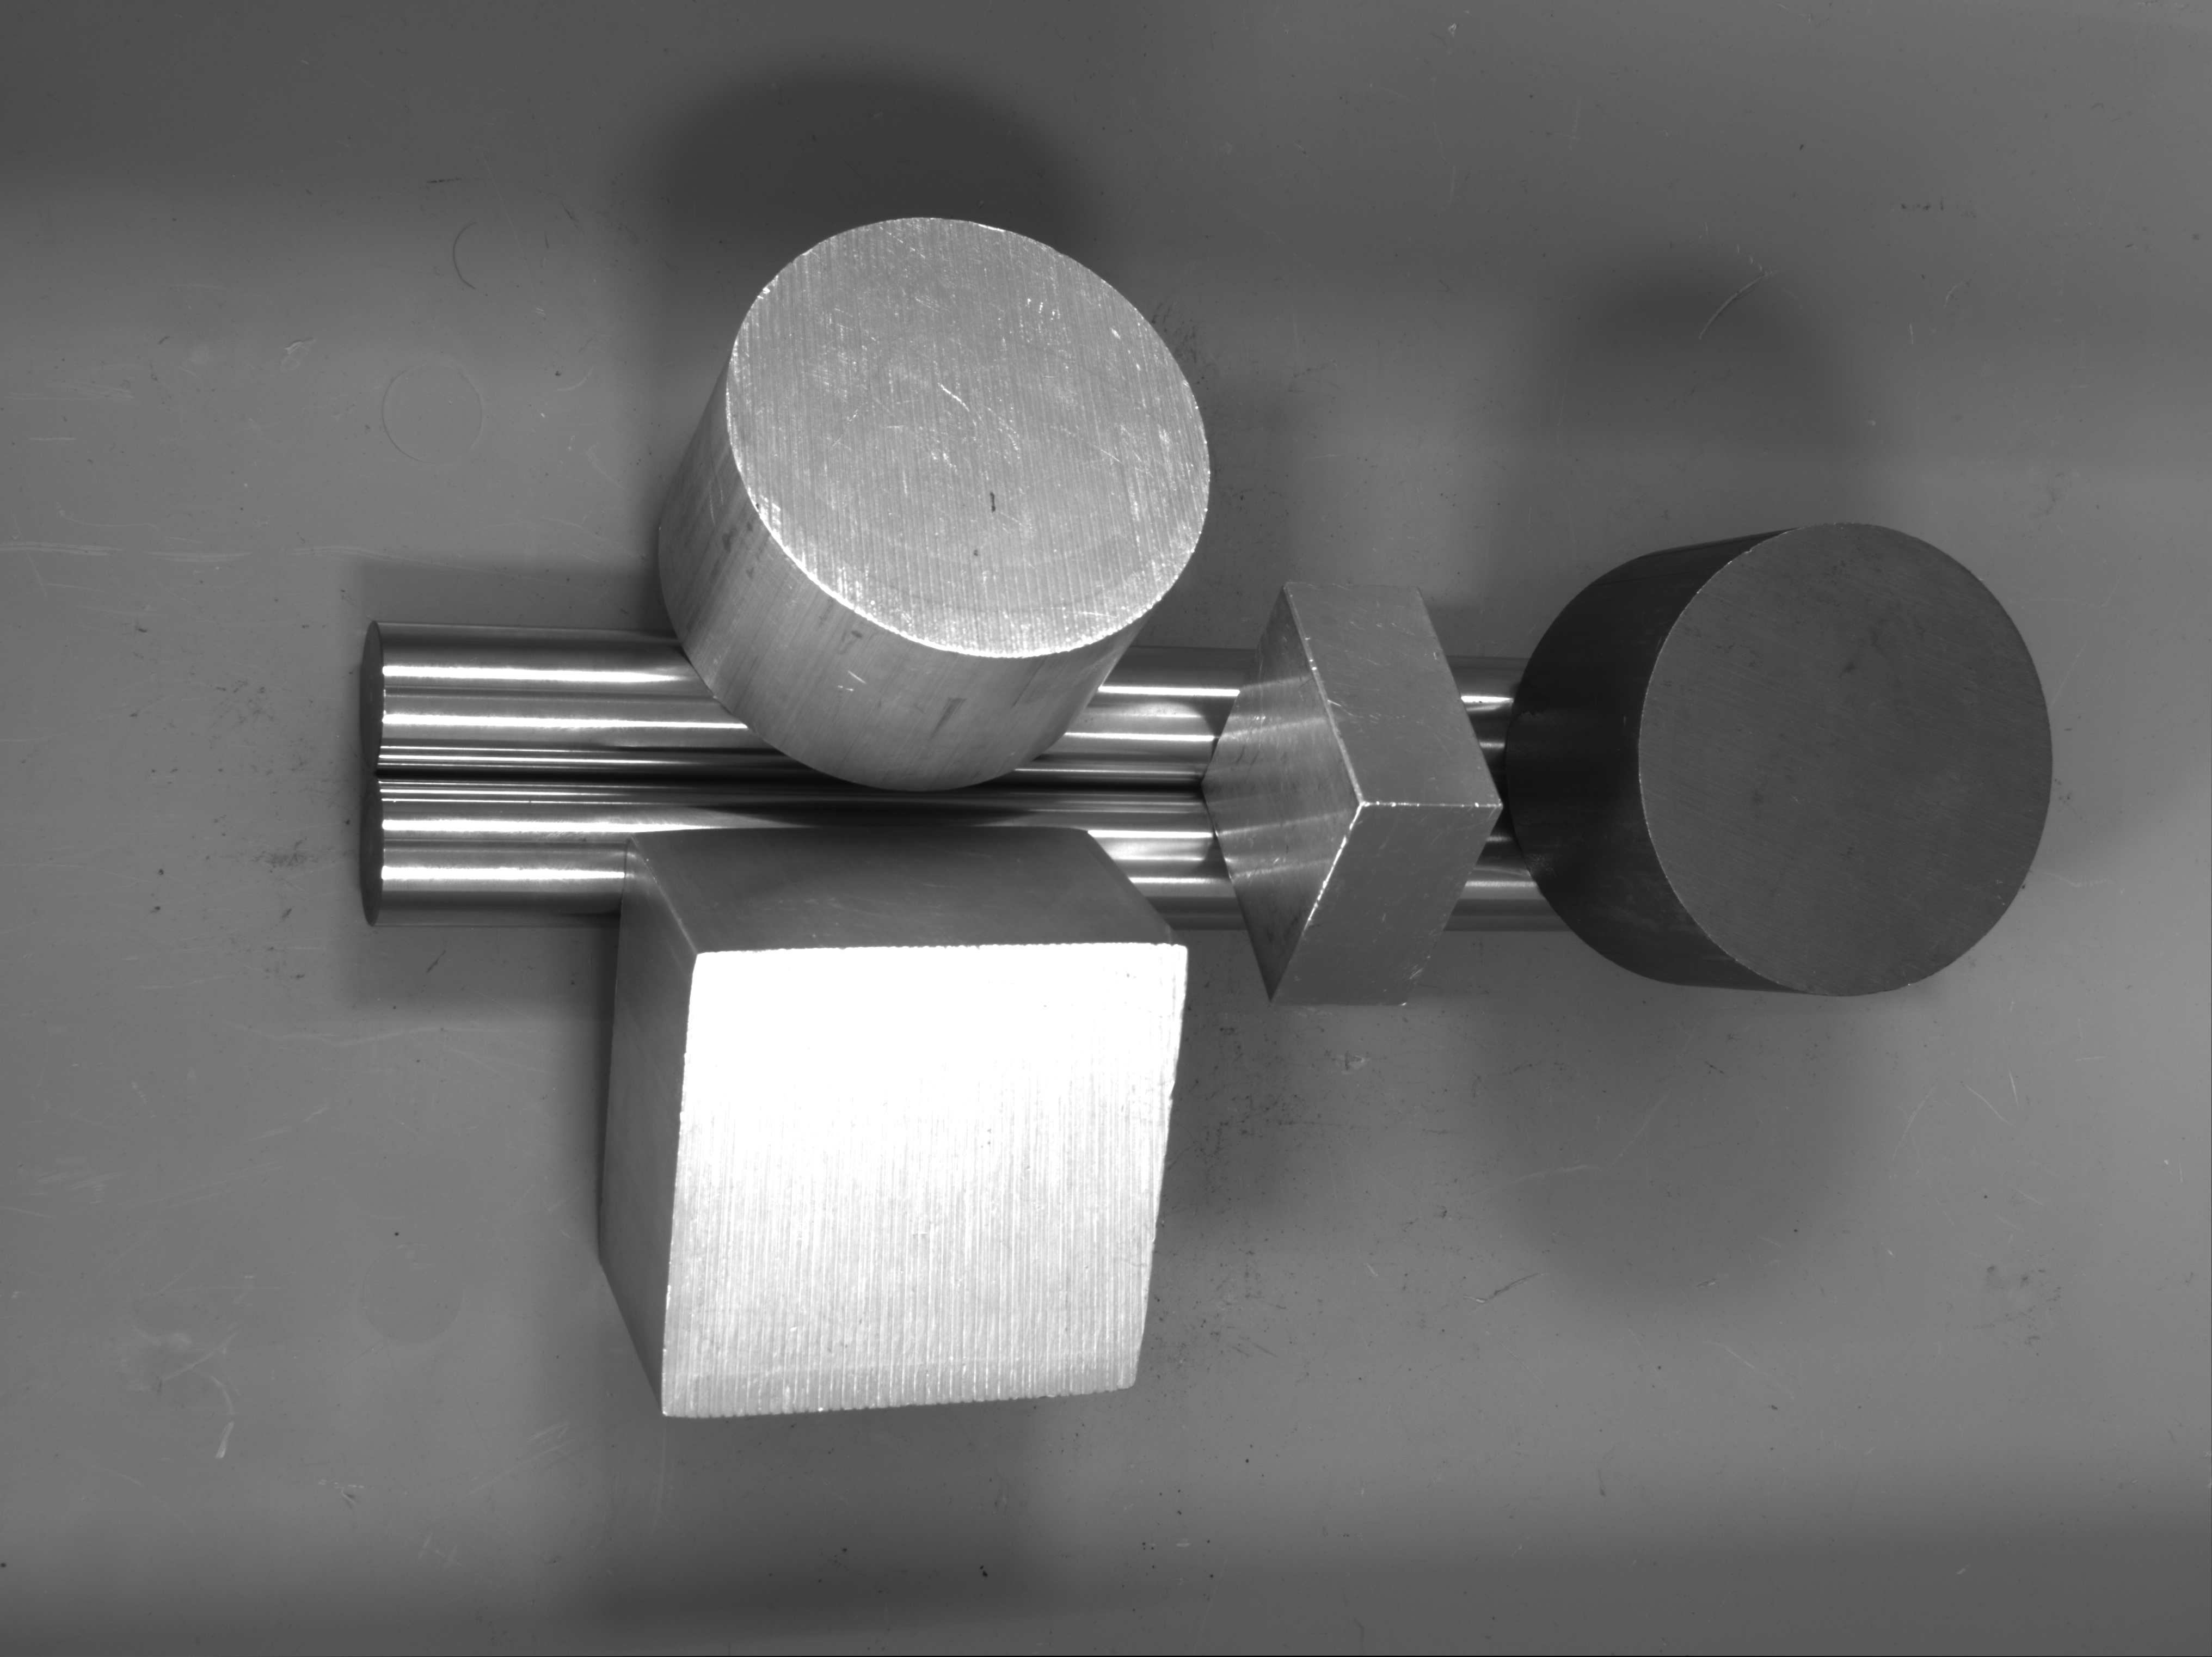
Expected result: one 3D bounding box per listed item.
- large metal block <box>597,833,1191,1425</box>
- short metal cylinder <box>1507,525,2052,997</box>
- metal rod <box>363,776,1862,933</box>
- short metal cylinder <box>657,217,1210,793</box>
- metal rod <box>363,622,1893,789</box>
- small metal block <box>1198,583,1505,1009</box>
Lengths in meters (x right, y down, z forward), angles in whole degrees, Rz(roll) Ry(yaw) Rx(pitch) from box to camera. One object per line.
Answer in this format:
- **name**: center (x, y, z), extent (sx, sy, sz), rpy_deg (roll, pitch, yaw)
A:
- **large metal block**: center (-0.036, 0.047, 0.601), extent (0.080, 0.050, 0.080), rpy_deg (-1, 110, -20)
- **short metal cylinder**: center (0.118, -0.011, 0.645), extent (0.080, 0.050, 0.080), rpy_deg (0, 90, -20)
- **metal rod**: center (0.021, 0.006, 0.650), extent (0.301, 0.025, 0.025), rpy_deg (1, 90, -20)
- **short metal cylinder**: center (-0.029, -0.053, 0.603), extent (0.080, 0.050, 0.080), rpy_deg (8, 63, -17)
- **metal rod**: center (0.021, -0.019, 0.650), extent (0.301, 0.025, 0.025), rpy_deg (1, 90, -20)
- **small metal block**: center (0.040, -0.005, 0.614), extent (0.025, 0.050, 0.050), rpy_deg (1, 47, -20)
